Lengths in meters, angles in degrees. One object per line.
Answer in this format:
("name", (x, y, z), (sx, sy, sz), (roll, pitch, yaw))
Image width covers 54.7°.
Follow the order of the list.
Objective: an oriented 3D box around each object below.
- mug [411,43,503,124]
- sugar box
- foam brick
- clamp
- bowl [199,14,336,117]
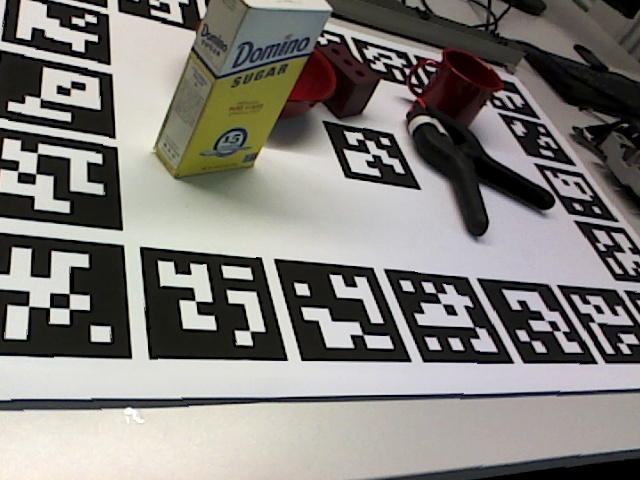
("mug", (0.178, -0.214, 0.848), (0.117, 0.081, 0.093), (27, 41, -12))
("sugar box", (-0.073, -0.131, 0.541), (0.092, 0.177, 0.045), (-19, 64, -44))
("foam brick", (0.027, -0.194, 0.769), (0.052, 0.051, 0.078), (-23, 66, -43))
("clamp", (0.173, -0.106, 0.769), (0.164, 0.037, 0.203), (-18, 62, -40))
("bowl", (-0.066, -0.189, 0.694), (0.161, 0.055, 0.162), (18, 43, -18))
